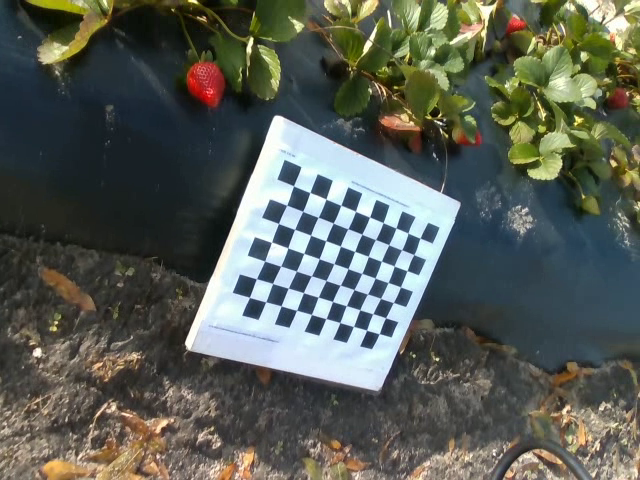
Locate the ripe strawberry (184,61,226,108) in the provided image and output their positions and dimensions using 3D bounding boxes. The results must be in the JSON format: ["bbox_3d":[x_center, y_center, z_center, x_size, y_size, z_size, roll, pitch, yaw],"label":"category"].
[{"bbox_3d":[-0.089,-0.127,0.552,0.041,0.047,0.041,-10,-36,-19],"label":"ripe strawberry"}]
